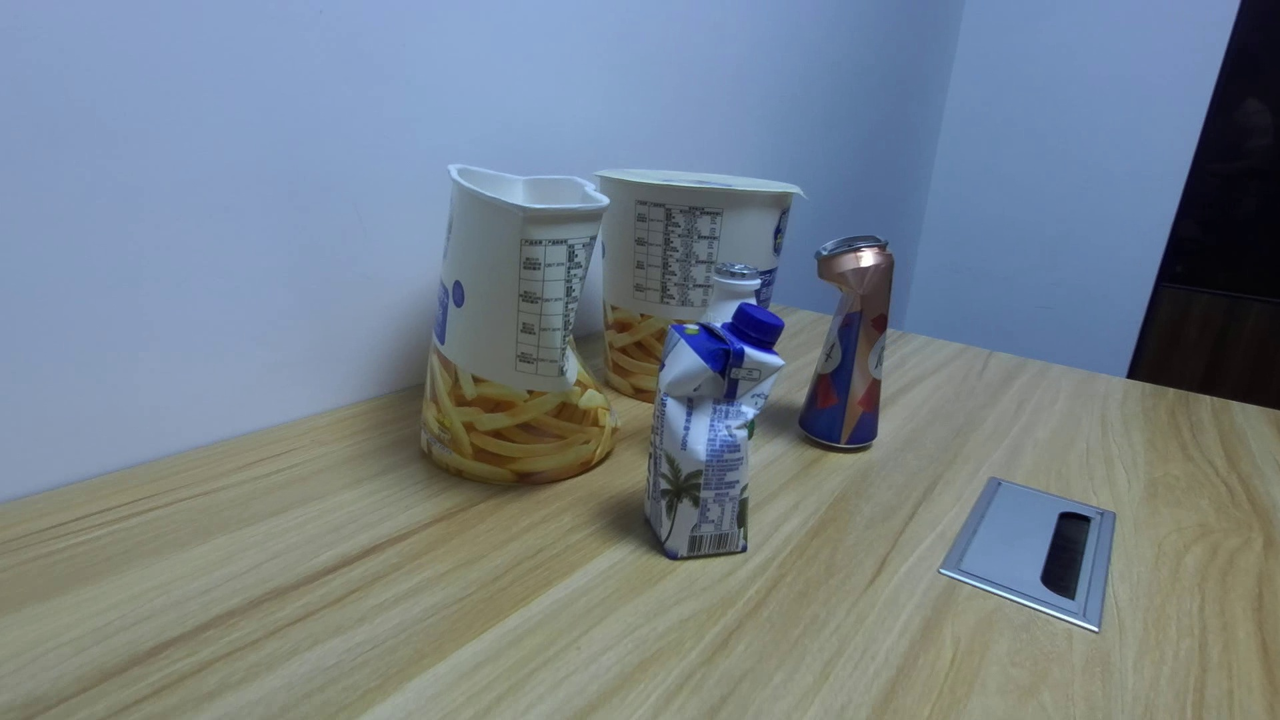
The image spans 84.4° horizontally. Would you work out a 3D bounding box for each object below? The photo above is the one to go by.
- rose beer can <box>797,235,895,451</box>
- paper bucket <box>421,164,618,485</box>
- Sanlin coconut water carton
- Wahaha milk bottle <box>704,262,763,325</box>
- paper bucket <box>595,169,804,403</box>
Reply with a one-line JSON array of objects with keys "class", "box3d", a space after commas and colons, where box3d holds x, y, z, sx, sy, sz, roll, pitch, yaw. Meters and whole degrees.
[{"class": "rose beer can", "box3d": [0.166, -0.013, 0.561, 0.070, 0.168, 0.069, -13, 22, -35]}, {"class": "paper bucket", "box3d": [-0.082, -0.032, 0.507, 0.148, 0.199, 0.217, -9, 22, -38]}, {"class": "Sanlin coconut water carton", "box3d": [0.040, 0.039, 0.402, 0.070, 0.143, 0.060, 0, 20, -17]}, {"class": "Wahaha milk bottle", "box3d": [0.061, 0.006, 0.505, 0.053, 0.147, 0.053, 5, 21, -1]}, {"class": "paper bucket", "box3d": [0.045, -0.071, 0.661, 0.198, 0.194, 0.198, 4, 18, -1]}]
